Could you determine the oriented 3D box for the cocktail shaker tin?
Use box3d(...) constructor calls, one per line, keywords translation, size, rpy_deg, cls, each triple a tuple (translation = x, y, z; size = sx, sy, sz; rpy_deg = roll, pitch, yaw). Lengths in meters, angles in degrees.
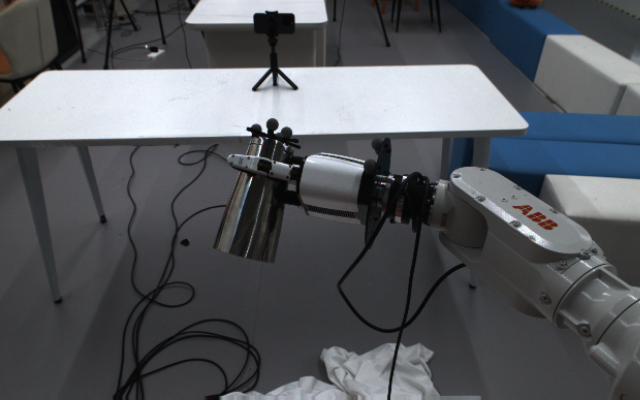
box3d(translation=(-0.090, -0.004, 0.711), size=(0.093, 0.170, 0.093), rpy_deg=(15, -5, 1), cls="cocktail shaker tin")
